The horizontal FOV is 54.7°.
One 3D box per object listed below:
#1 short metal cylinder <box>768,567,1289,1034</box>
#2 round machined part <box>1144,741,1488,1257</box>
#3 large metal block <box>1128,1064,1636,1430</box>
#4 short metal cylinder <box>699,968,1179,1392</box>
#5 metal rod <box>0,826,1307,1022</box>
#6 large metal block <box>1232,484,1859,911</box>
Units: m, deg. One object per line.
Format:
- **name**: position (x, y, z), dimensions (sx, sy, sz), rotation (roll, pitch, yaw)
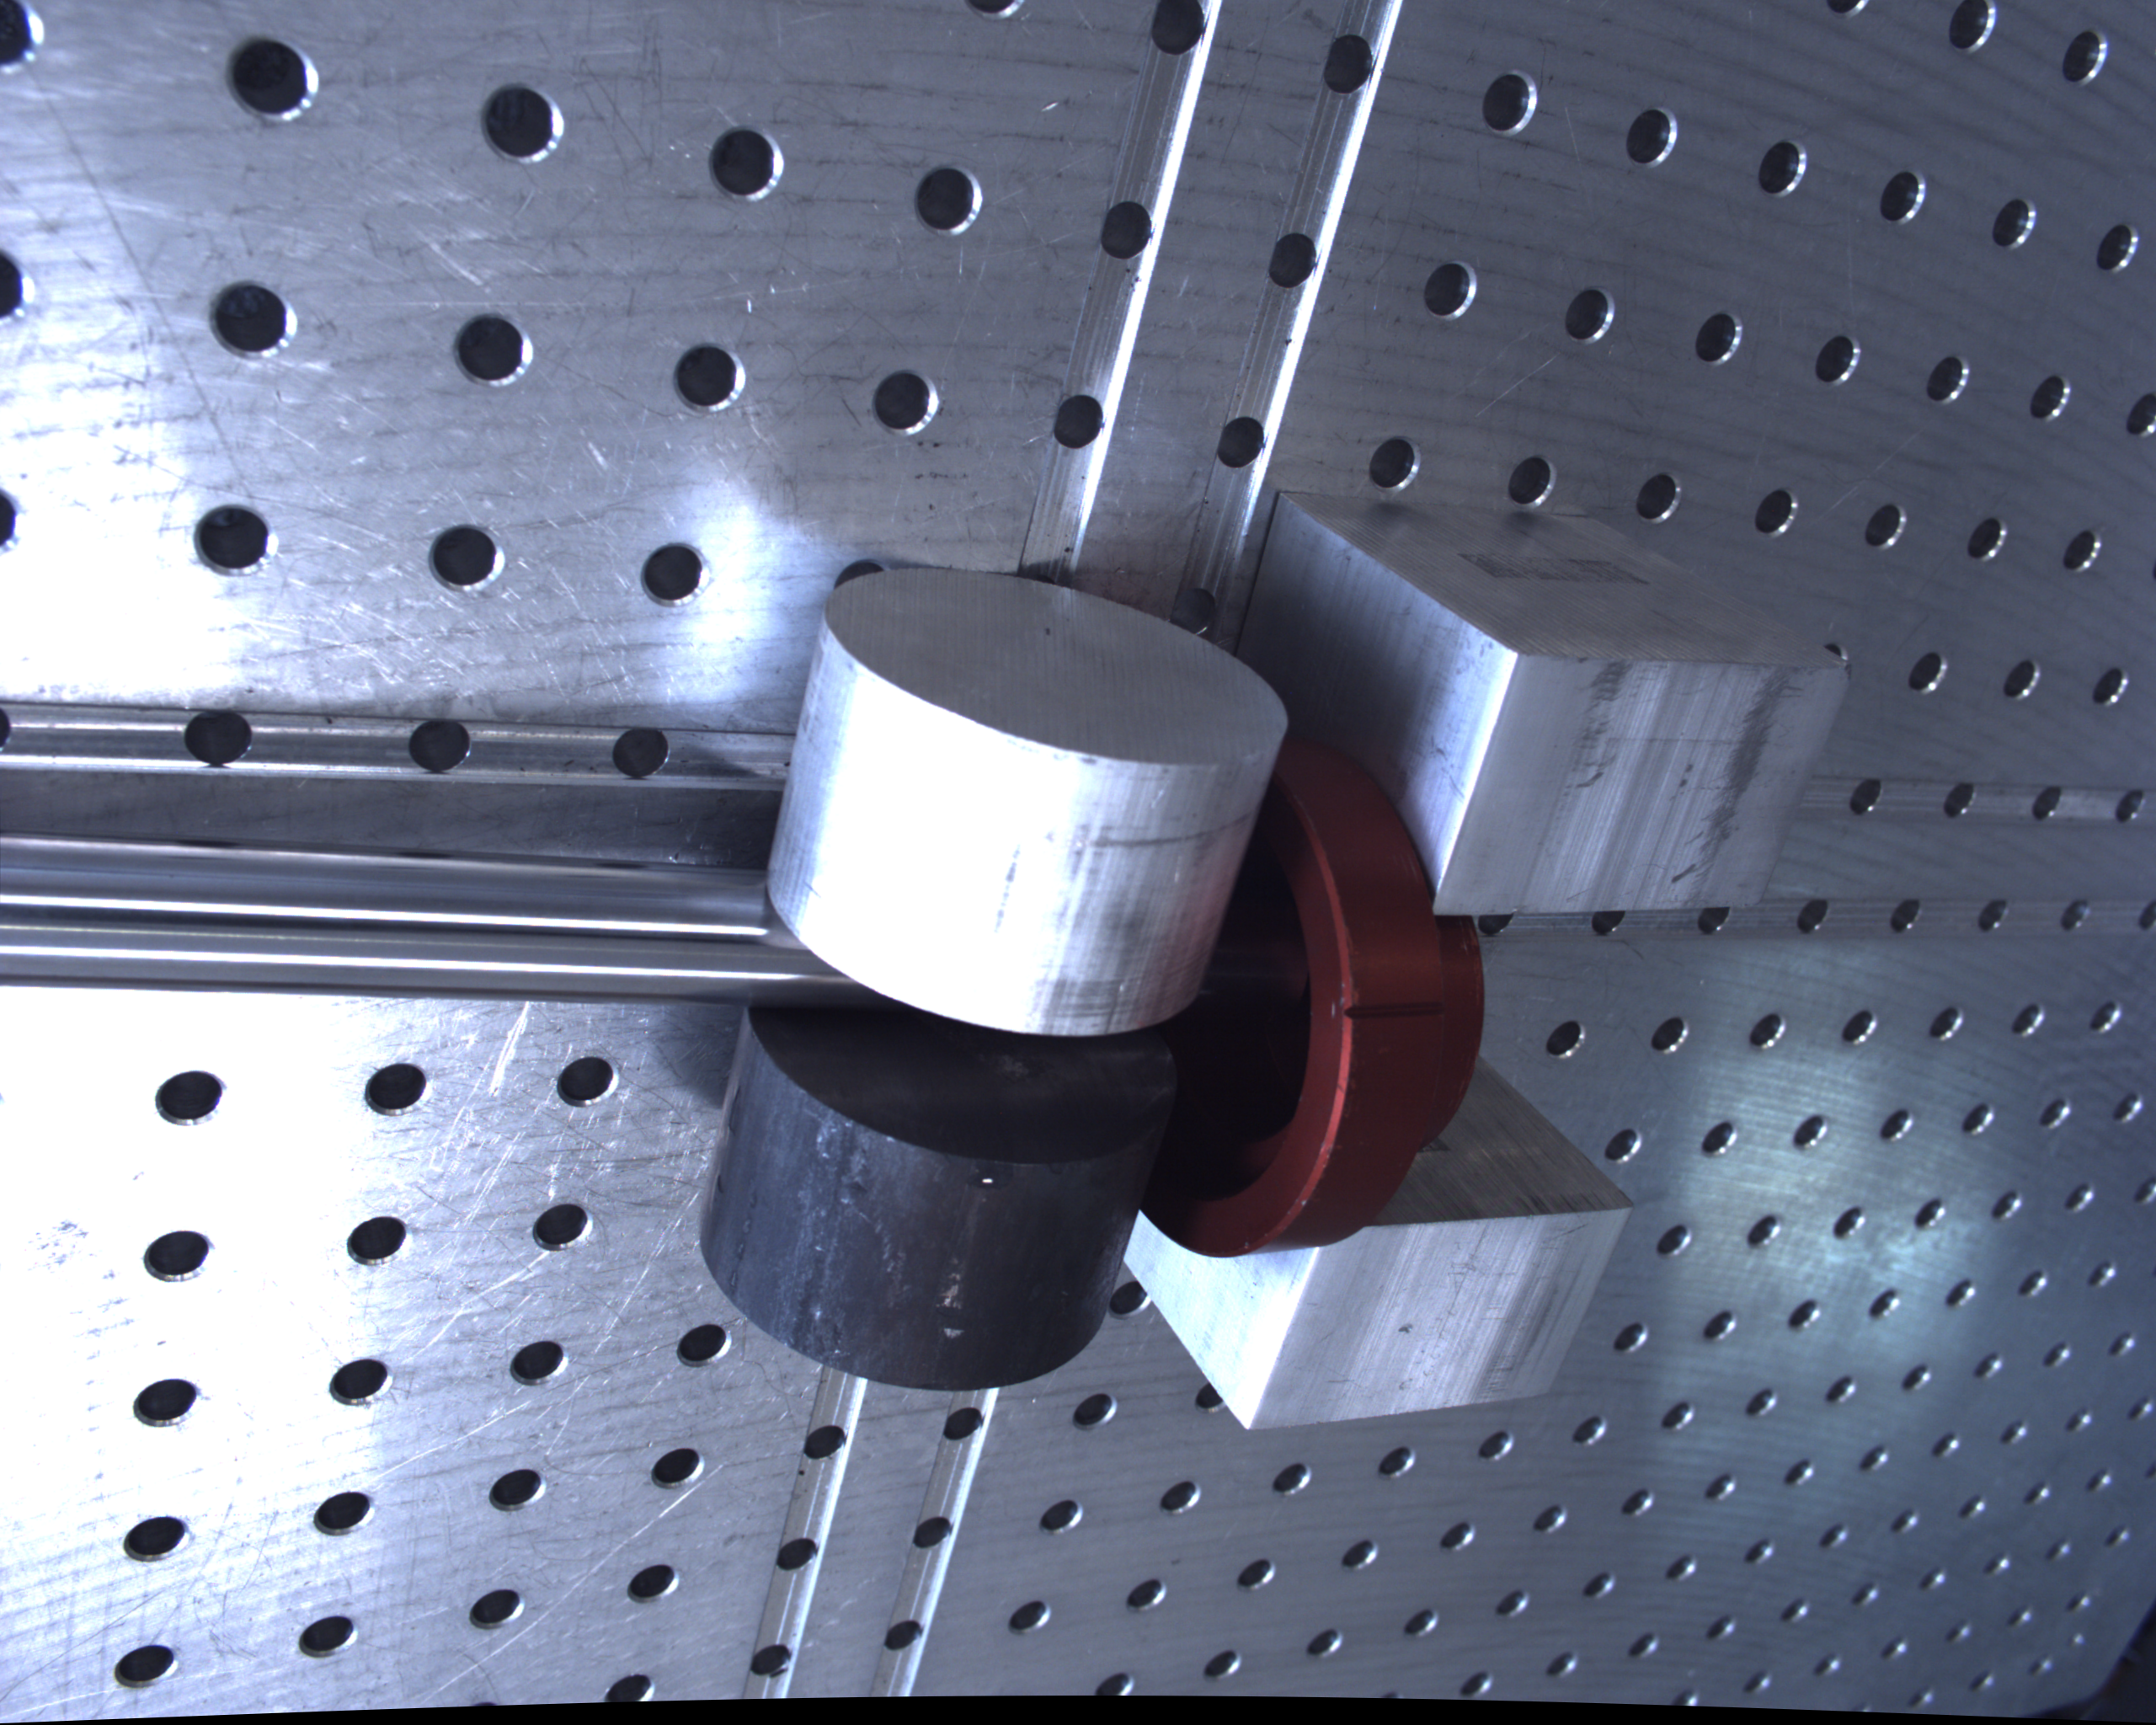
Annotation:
- **short metal cylinder**: position (-0.009, -0.013, 0.362), dimensions (0.081, 0.080, 0.050), rotation (1, 119, -29)
- **round machined part**: position (0.041, 0.025, 0.401), dimensions (0.042, 0.098, 0.097), rotation (1, 118, -29)
- **large metal block**: position (0.057, 0.073, 0.452), dimensions (0.081, 0.080, 0.050), rotation (3, 117, -30)
- **short metal cylinder**: position (-0.027, 0.053, 0.393), dimensions (0.081, 0.080, 0.050), rotation (1, 118, -29)
- **metal rod**: position (-0.097, 0.011, 0.350), dimensions (0.302, 0.025, 0.025), rotation (4, 117, -26)
- **large metal block**: position (0.085, -0.033, 0.402), dimensions (0.081, 0.080, 0.050), rotation (0, 119, -28)
